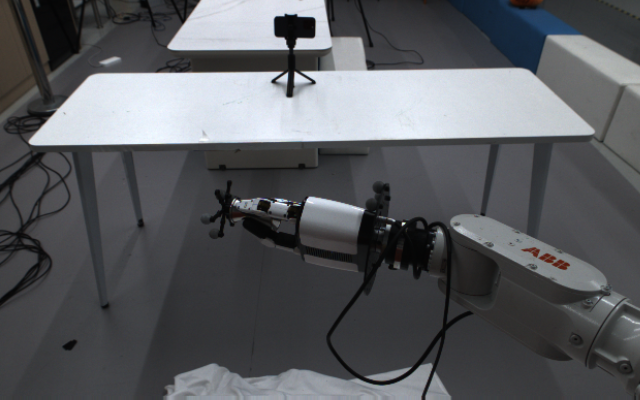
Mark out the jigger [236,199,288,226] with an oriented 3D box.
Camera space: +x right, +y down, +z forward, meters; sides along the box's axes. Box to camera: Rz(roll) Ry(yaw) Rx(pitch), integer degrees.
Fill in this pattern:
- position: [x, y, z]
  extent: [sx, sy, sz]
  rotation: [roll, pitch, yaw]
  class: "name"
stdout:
- position: [-0.090, 0.015, 0.723]
  extent: [0.071, 0.043, 0.043]
  rotation: [7, 35, 15]
  class: "jigger"
